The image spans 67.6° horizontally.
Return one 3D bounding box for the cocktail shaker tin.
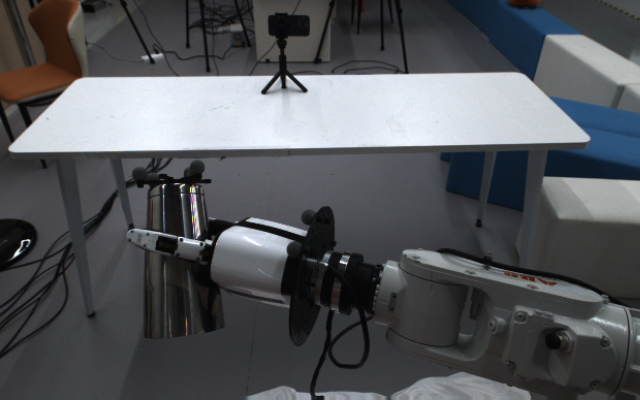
[{"bbox_3d":[-0.166,0.071,0.575,0.093,0.170,0.093,-6,-7,-1],"label":"cocktail shaker tin"}]
